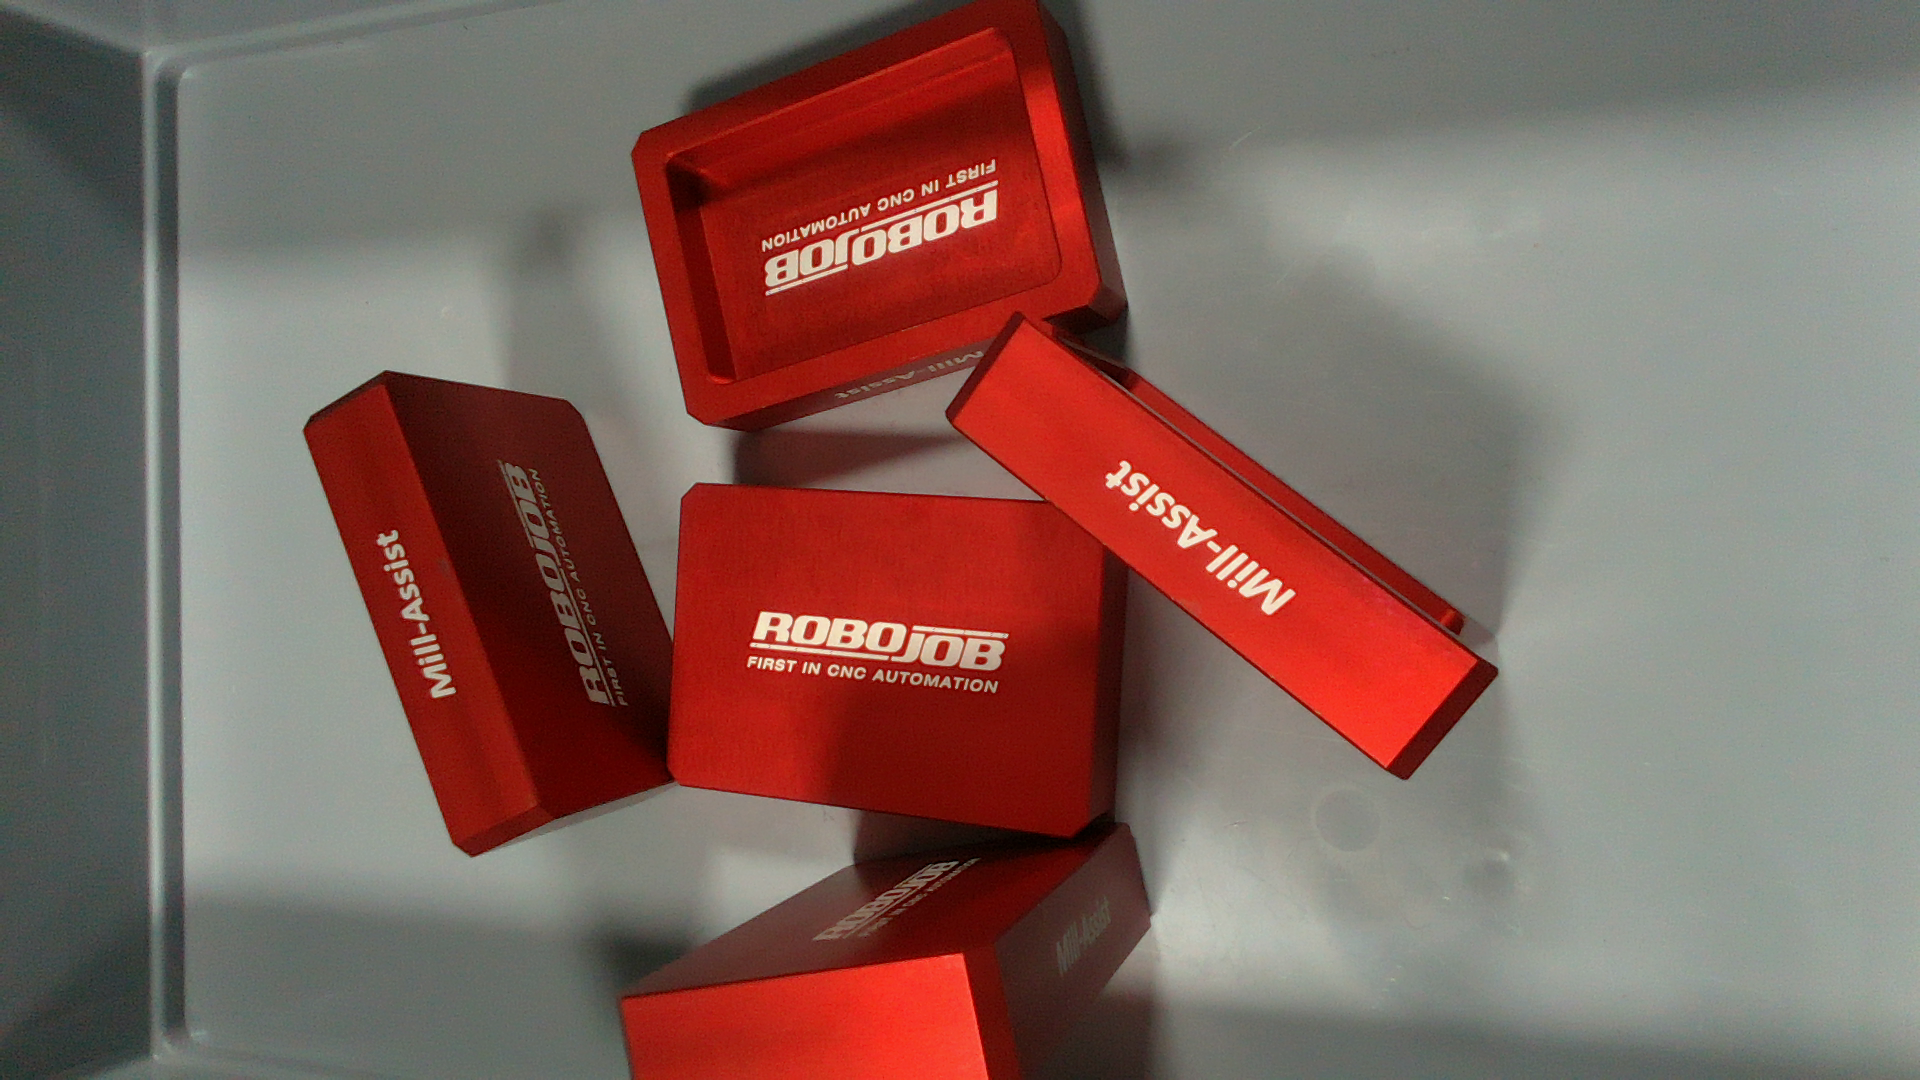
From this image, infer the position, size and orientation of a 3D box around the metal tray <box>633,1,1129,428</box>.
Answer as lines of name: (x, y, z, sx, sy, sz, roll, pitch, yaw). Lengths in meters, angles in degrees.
metal tray: (-0.025, -0.092, 0.401, 0.130, 0.030, 0.090, -14, 85, 19)

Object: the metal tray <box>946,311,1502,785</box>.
metal tray: (0.067, -0.001, 0.335, 0.130, 0.090, 0.030, 40, 104, 16)

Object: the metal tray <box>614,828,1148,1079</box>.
metal tray: (-0.011, 0.105, 0.342, 0.090, 0.130, 0.030, -13, 86, 19)

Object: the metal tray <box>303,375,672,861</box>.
metal tray: (-0.129, 0.020, 0.406, 0.030, 0.090, 0.130, -26, 82, 17)

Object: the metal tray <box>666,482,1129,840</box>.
metal tray: (-0.019, 0.031, 0.397, 0.130, 0.030, 0.090, 3, 91, 20)
